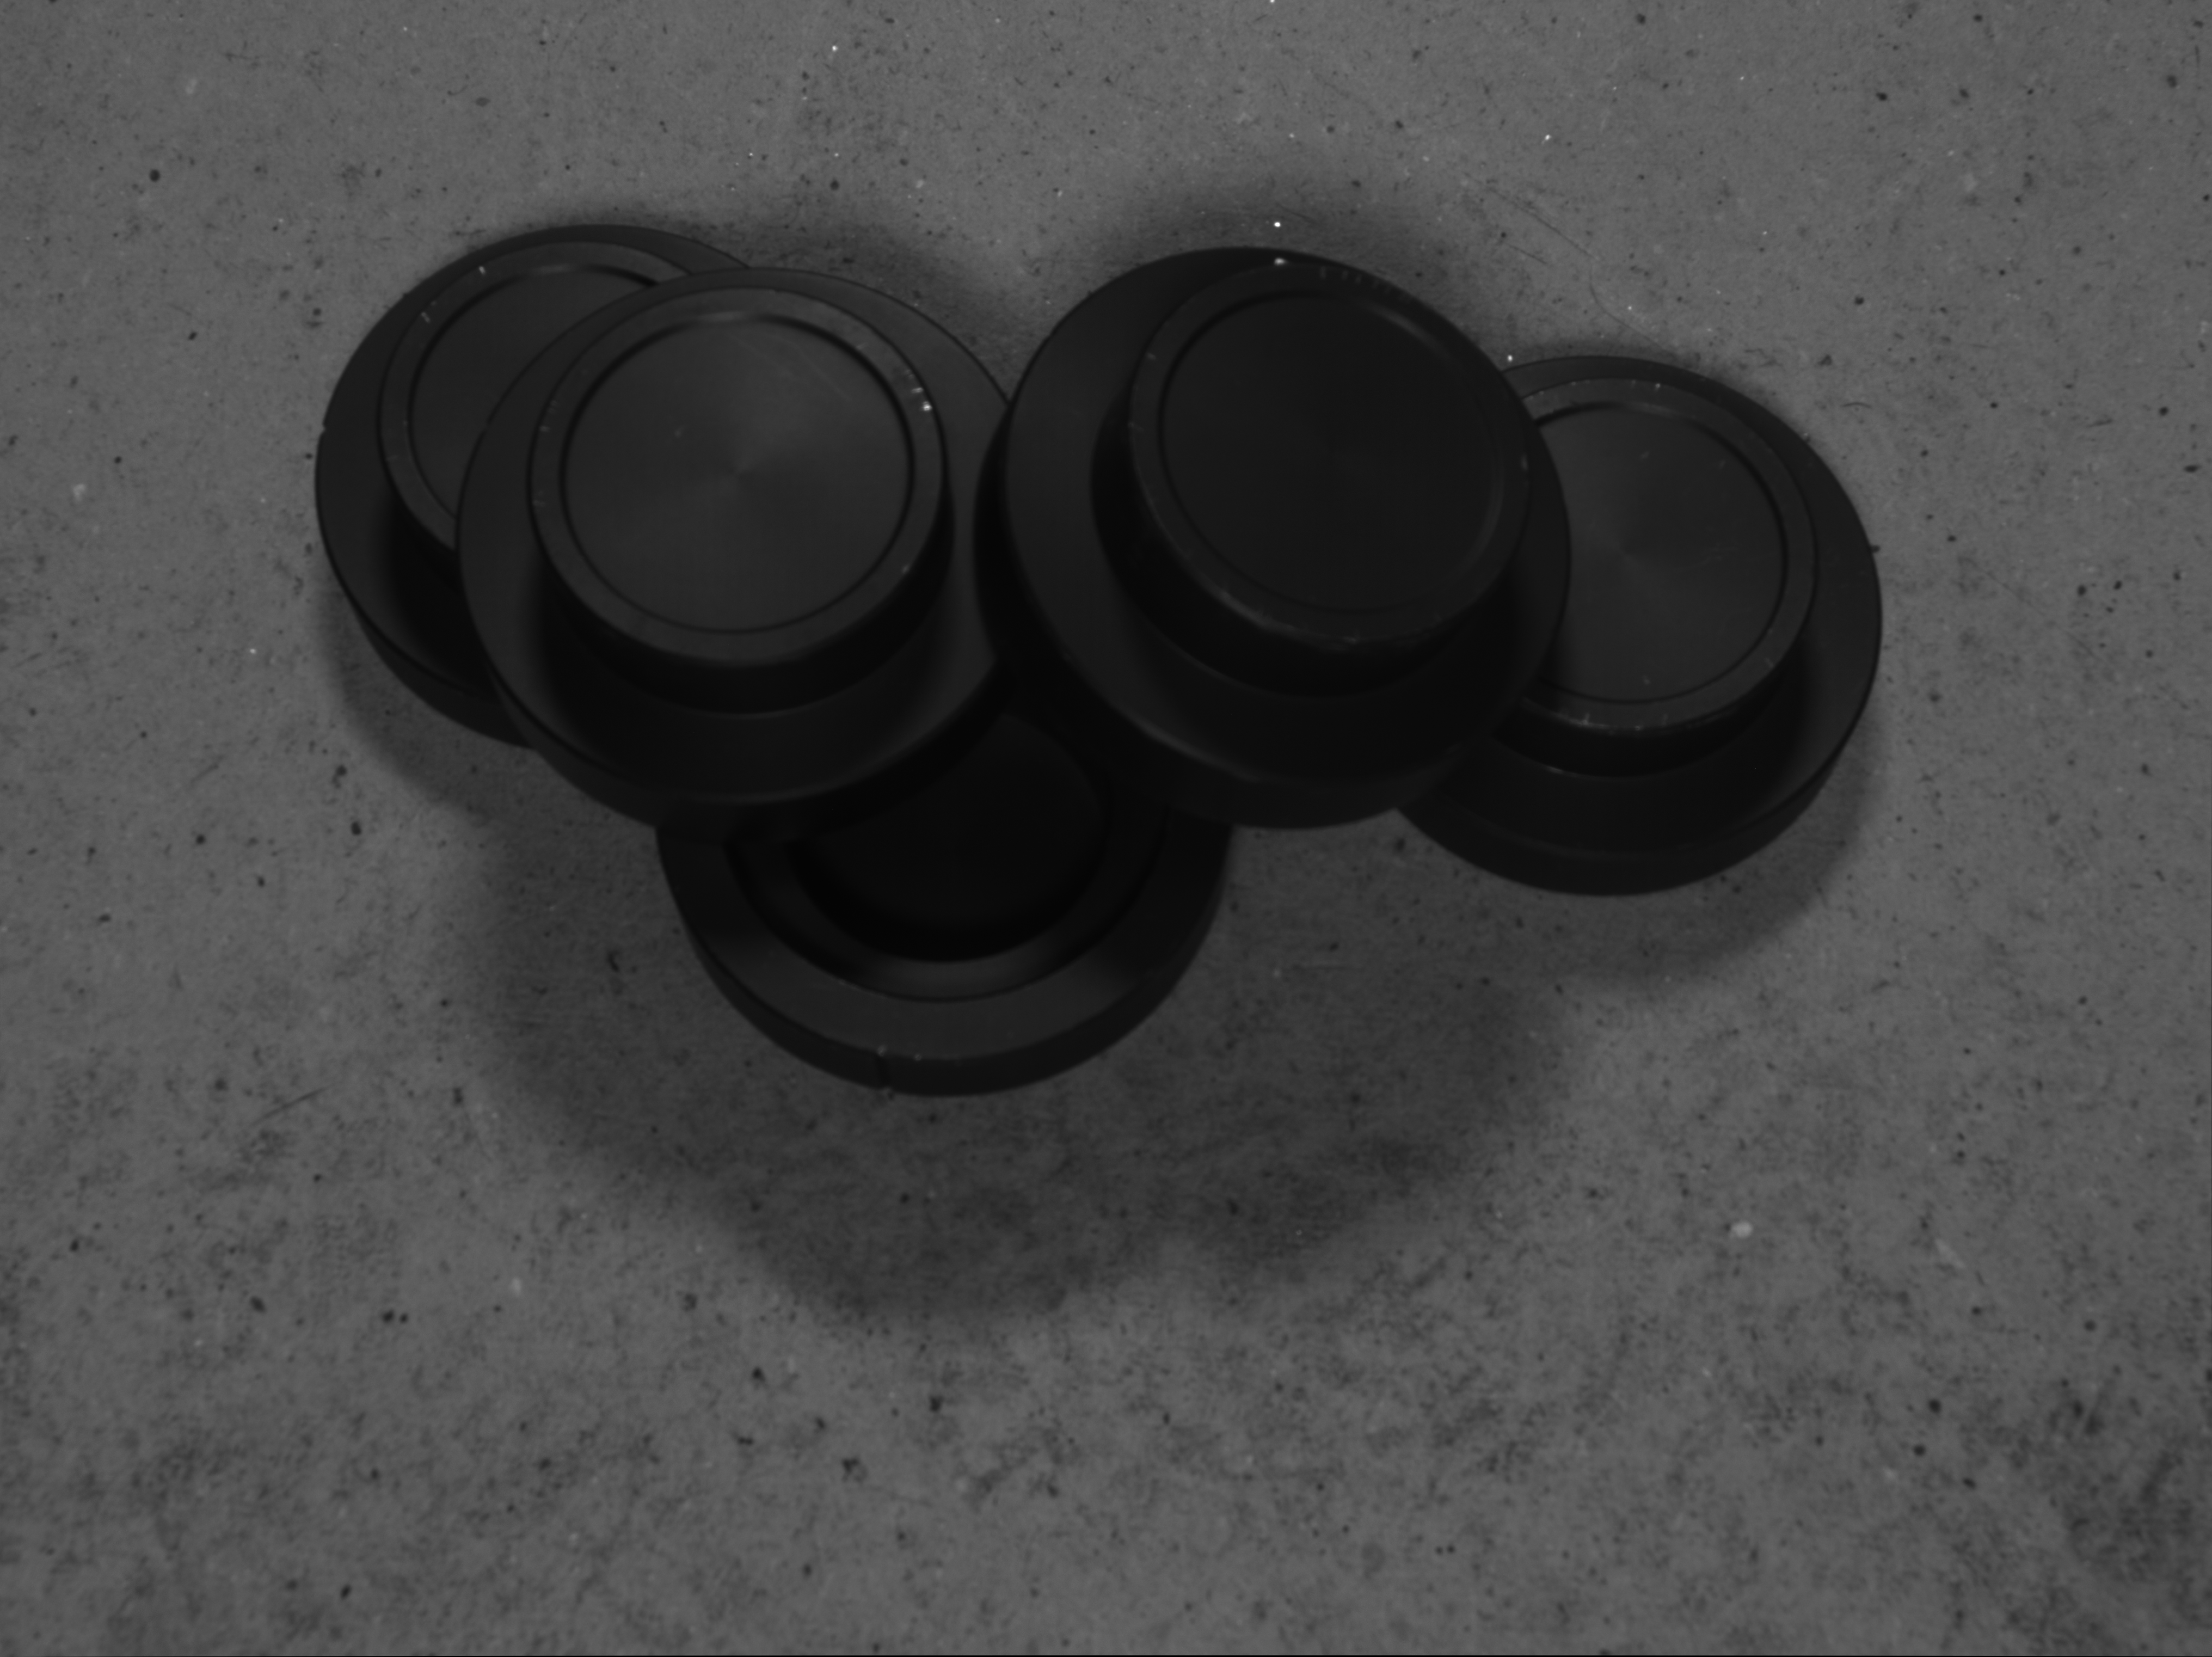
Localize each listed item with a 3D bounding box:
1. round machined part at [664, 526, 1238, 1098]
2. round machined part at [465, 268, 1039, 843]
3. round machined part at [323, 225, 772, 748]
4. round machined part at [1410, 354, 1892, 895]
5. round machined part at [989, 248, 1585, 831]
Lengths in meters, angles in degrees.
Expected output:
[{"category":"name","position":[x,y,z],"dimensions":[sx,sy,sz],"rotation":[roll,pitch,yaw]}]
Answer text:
[{"category":"round machined part","position":[-0.026,0.000,0.636],"dimensions":[0.098,0.042,0.098],"rotation":[0,70,0]},{"category":"round machined part","position":[-0.058,-0.050,0.609],"dimensions":[0.098,0.042,0.098],"rotation":[0,70,0]},{"category":"round machined part","position":[-0.092,-0.066,0.660],"dimensions":[0.098,0.042,0.098],"rotation":[0,70,0]},{"category":"round machined part","position":[0.091,-0.041,0.651],"dimensions":[0.098,0.042,0.098],"rotation":[0,70,0]},{"category":"round machined part","position":[0.032,-0.052,0.599],"dimensions":[0.098,0.042,0.098],"rotation":[5,68,-12]}]
